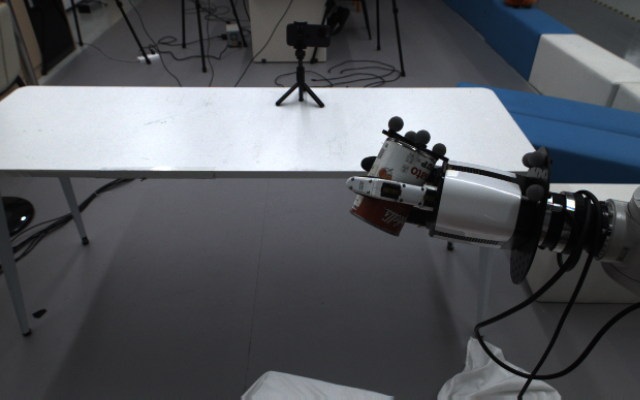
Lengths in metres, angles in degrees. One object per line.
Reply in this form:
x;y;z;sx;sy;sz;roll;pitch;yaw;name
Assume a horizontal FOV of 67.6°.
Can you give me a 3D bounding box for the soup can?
0.089;-0.016;0.584;0.067;0.101;0.067;26;5;-3;soup can
